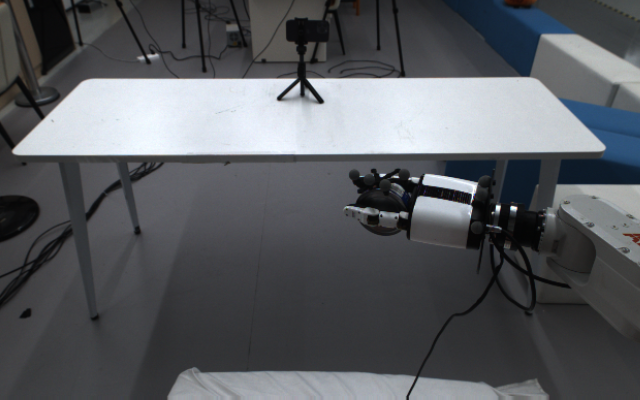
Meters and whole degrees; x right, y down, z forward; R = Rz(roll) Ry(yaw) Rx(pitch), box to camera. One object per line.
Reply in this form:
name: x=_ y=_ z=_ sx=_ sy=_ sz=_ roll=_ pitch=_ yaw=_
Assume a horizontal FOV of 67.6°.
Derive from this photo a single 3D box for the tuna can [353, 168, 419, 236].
tuna can: x=0.102 y=0.012 z=0.766 sx=0.085 sy=0.085 sz=0.034 roll=15 pitch=34 yaw=17
